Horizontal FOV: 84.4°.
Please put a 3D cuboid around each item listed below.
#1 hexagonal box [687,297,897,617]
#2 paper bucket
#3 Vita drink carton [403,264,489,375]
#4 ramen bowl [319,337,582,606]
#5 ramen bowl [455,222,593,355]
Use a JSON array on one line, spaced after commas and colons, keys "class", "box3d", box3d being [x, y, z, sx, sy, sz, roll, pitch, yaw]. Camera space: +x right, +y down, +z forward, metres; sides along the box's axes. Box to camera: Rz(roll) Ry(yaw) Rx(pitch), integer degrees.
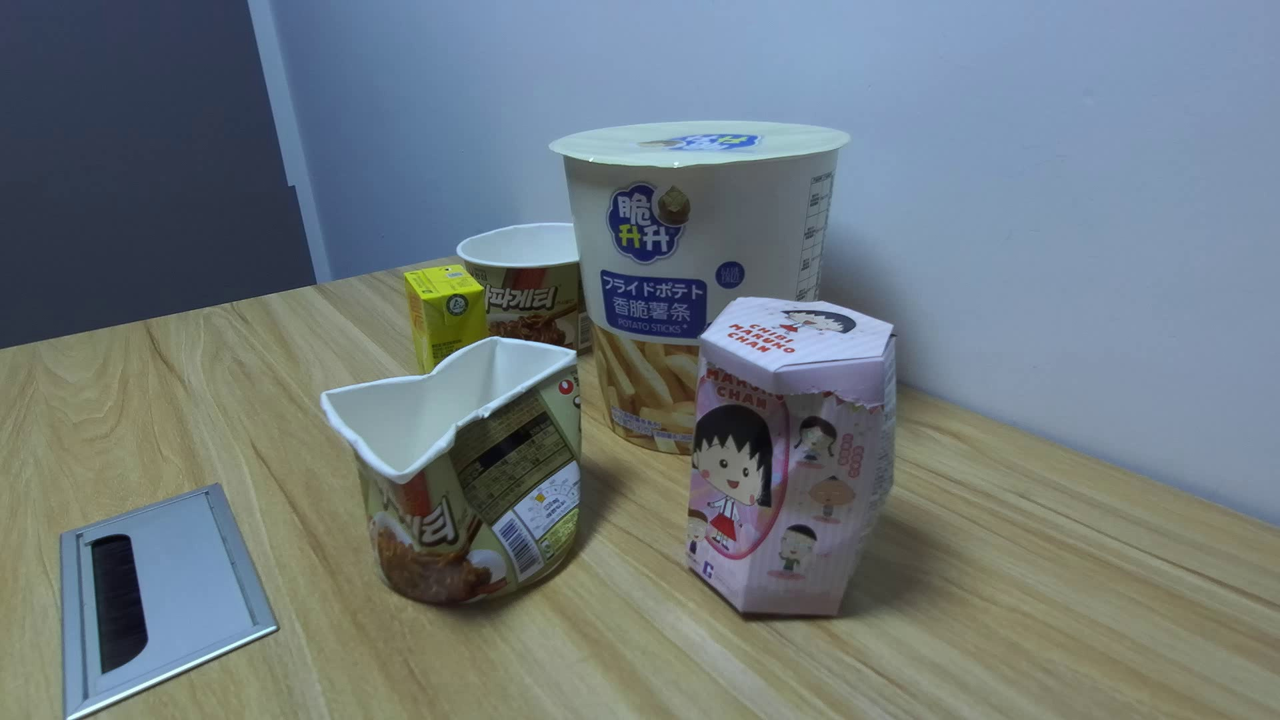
[{"class": "hexagonal box", "box3d": [0.071, 0.046, 0.346, 0.090, 0.134, 0.091, 4, 24, 2]}, {"class": "paper bucket", "box3d": [0.041, -0.054, 0.490, 0.198, 0.195, 0.198, -2, 25, 1]}, {"class": "Vita drink carton", "box3d": [-0.133, -0.006, 0.501, 0.044, 0.109, 0.066, -12, 28, -24]}, {"class": "ramen bowl", "box3d": [-0.086, 0.055, 0.381, 0.129, 0.093, 0.111, -23, 32, -38]}, {"class": "ramen bowl", "box3d": [-0.089, -0.062, 0.640, 0.140, 0.095, 0.140, -1, 24, 1]}]
